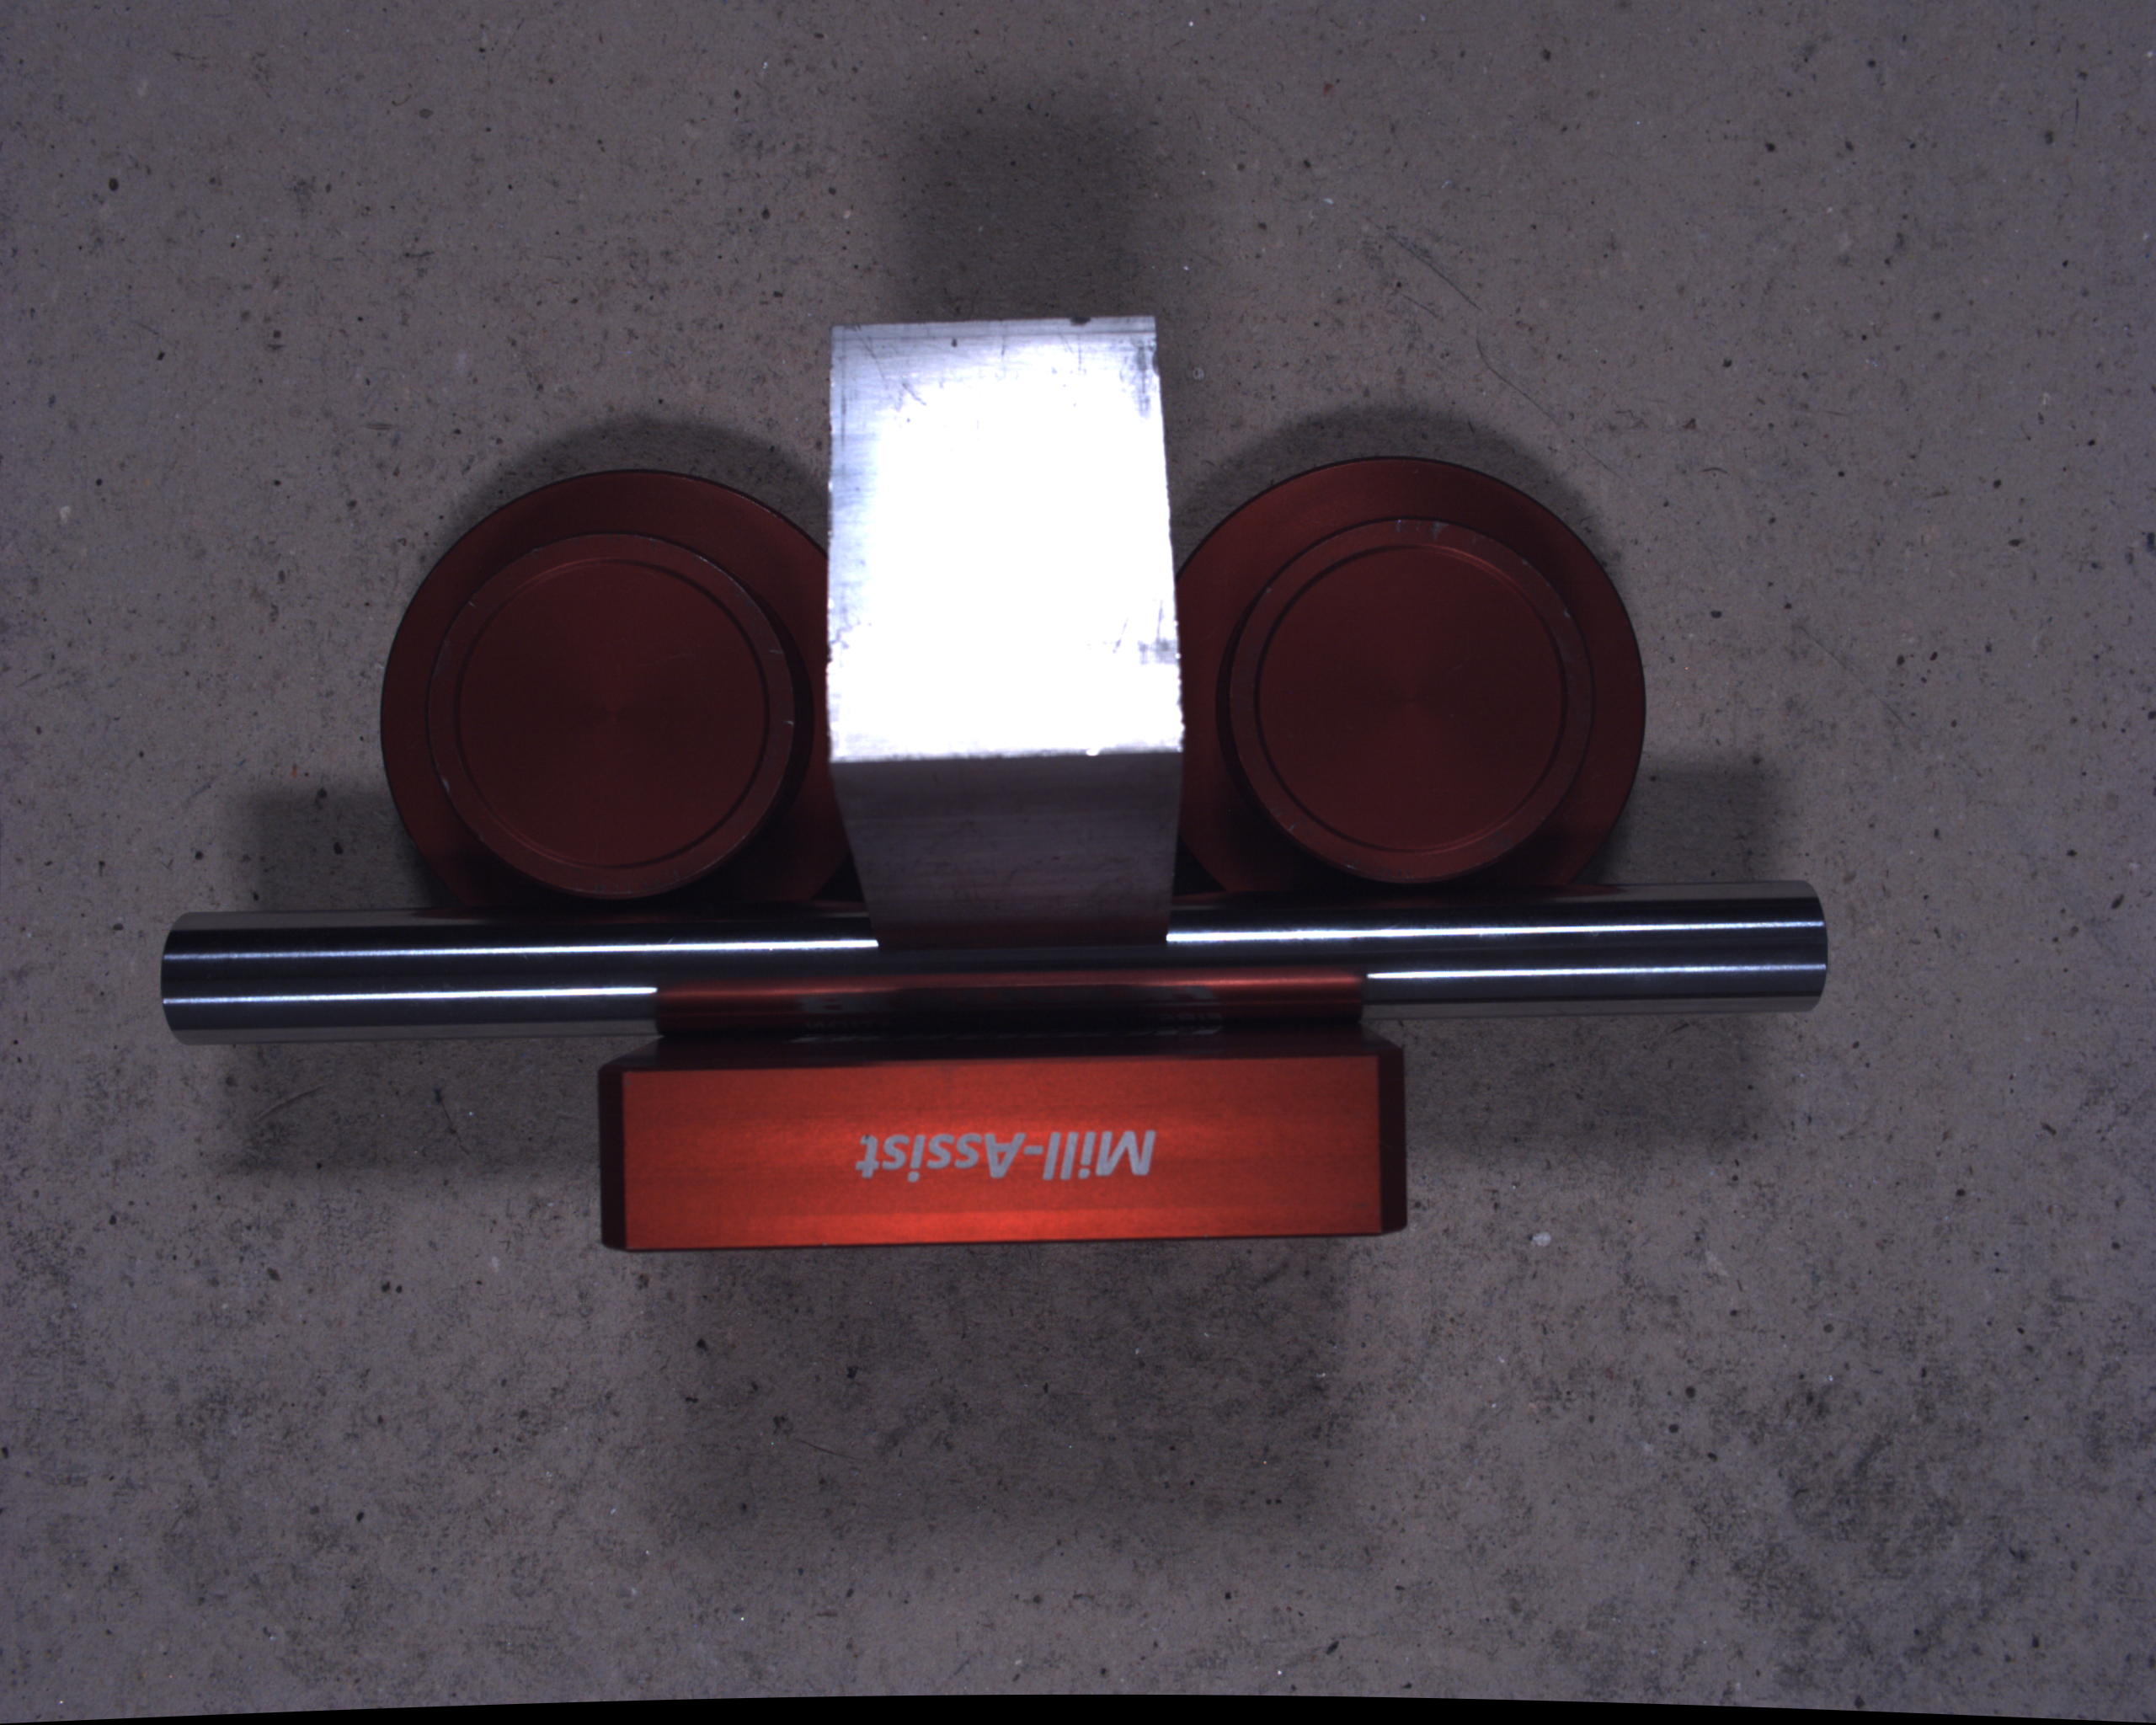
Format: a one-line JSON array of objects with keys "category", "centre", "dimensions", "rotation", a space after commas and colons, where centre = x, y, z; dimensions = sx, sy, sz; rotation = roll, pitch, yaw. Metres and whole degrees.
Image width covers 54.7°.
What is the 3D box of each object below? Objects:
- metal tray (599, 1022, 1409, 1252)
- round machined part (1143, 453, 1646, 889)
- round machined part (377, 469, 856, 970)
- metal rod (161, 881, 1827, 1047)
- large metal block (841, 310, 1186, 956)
[{"category": "metal tray", "centre": [-0.012, 0.046, 0.378], "dimensions": [0.131, 0.090, 0.030], "rotation": [-1, 90, -1]}, {"category": "round machined part", "centre": [0.061, -0.031, 0.403], "dimensions": [0.099, 0.042, 0.097], "rotation": [0, 90, -1]}, {"category": "round machined part", "centre": [-0.085, -0.027, 0.400], "dimensions": [0.099, 0.042, 0.097], "rotation": [0, 90, -1]}, {"category": "metal rod", "centre": [-0.014, 0.019, 0.390], "dimensions": [0.302, 0.025, 0.025], "rotation": [-1, 90, -1]}, {"category": "large metal block", "centre": [-0.011, -0.036, 0.357], "dimensions": [0.050, 0.080, 0.080], "rotation": [-2, 67, -1]}]
